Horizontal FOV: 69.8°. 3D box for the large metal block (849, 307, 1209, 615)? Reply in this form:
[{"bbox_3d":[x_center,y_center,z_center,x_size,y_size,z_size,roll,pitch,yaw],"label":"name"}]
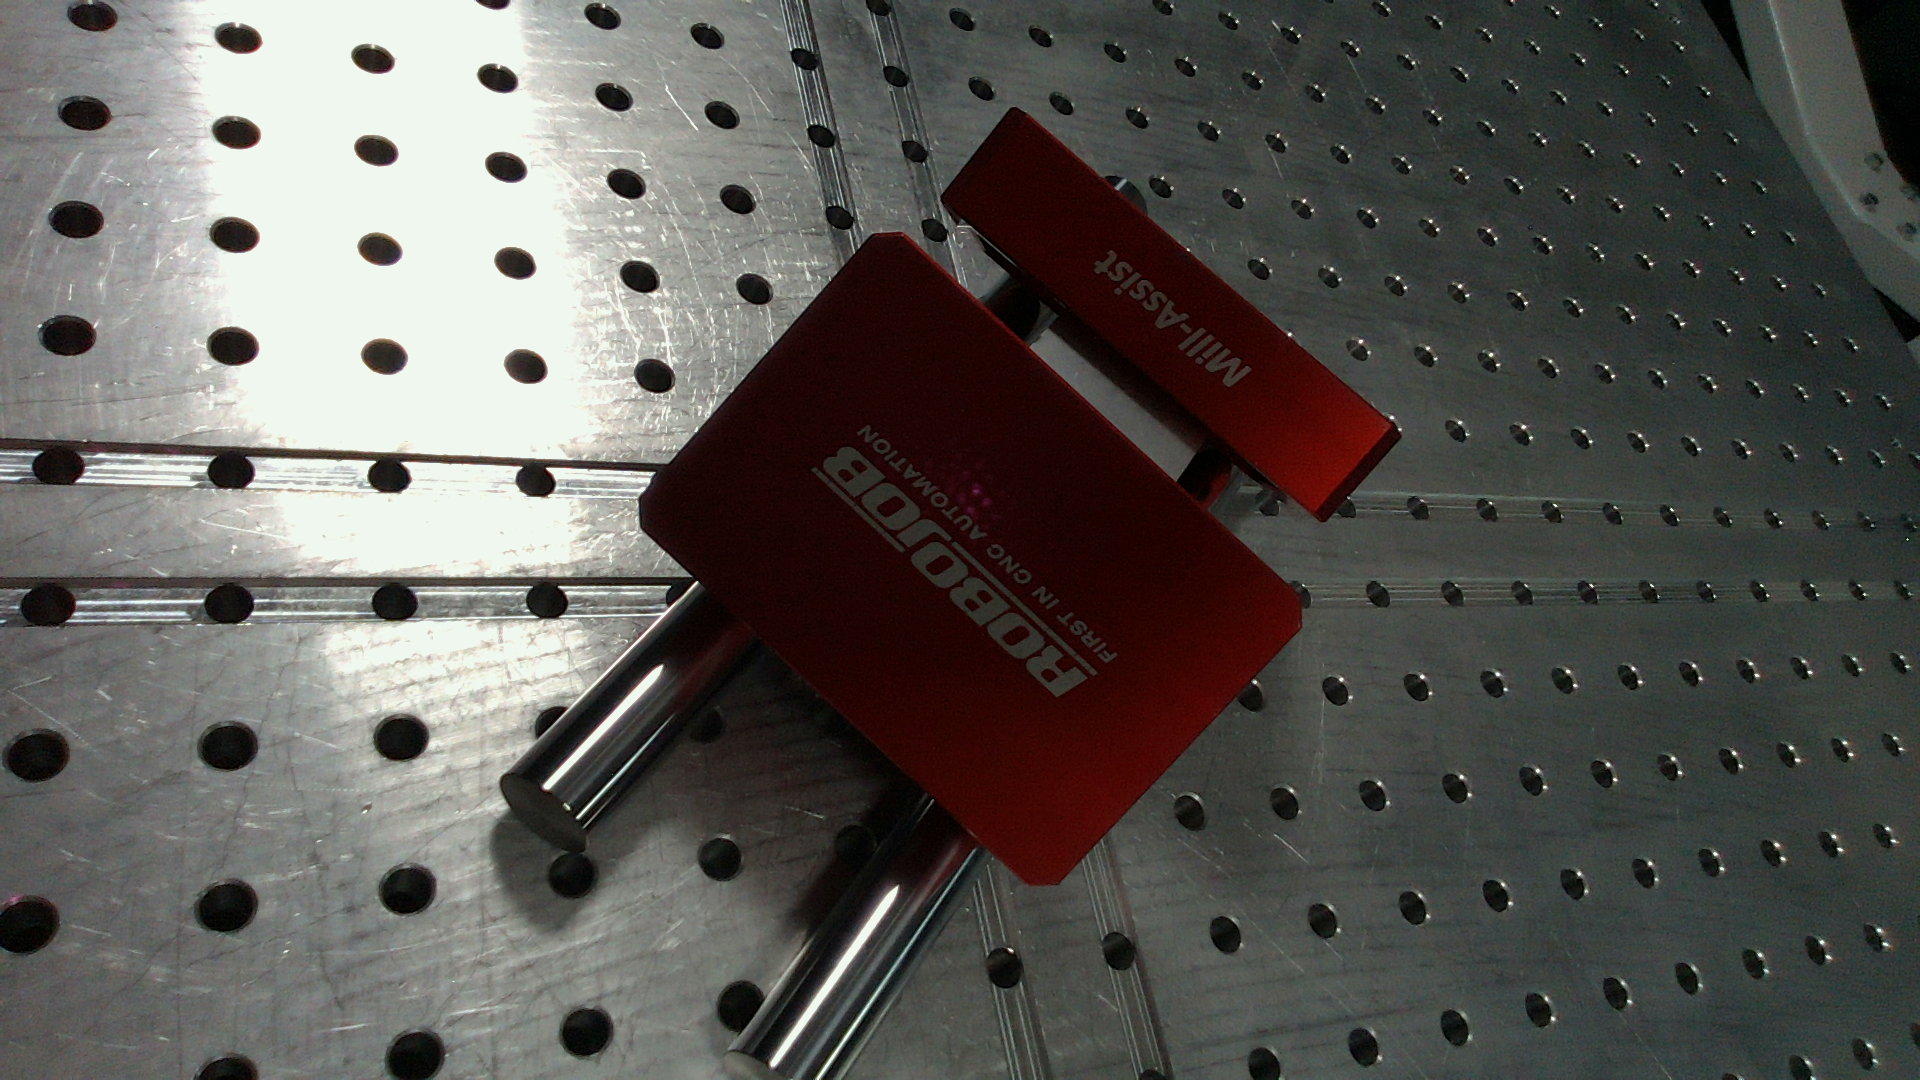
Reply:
[{"bbox_3d":[0.024,-0.018,0.381,0.050,0.080,0.080,41,51,0],"label":"large metal block"}]

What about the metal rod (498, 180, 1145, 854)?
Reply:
[{"bbox_3d":[-0.019,-0.029,0.401,0.025,0.025,0.301,40,51,-1],"label":"metal rod"}]

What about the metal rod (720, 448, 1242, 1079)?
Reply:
[{"bbox_3d":[0.034,0.030,0.393,0.025,0.025,0.301,41,51,0],"label":"metal rod"}]

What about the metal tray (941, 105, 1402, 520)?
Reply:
[{"bbox_3d":[0.057,-0.062,0.391,0.130,0.030,0.090,40,7,-1],"label":"metal tray"}]

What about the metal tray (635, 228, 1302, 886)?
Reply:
[{"bbox_3d":[0.002,0.004,0.322,0.130,0.030,0.090,43,94,1],"label":"metal tray"}]
